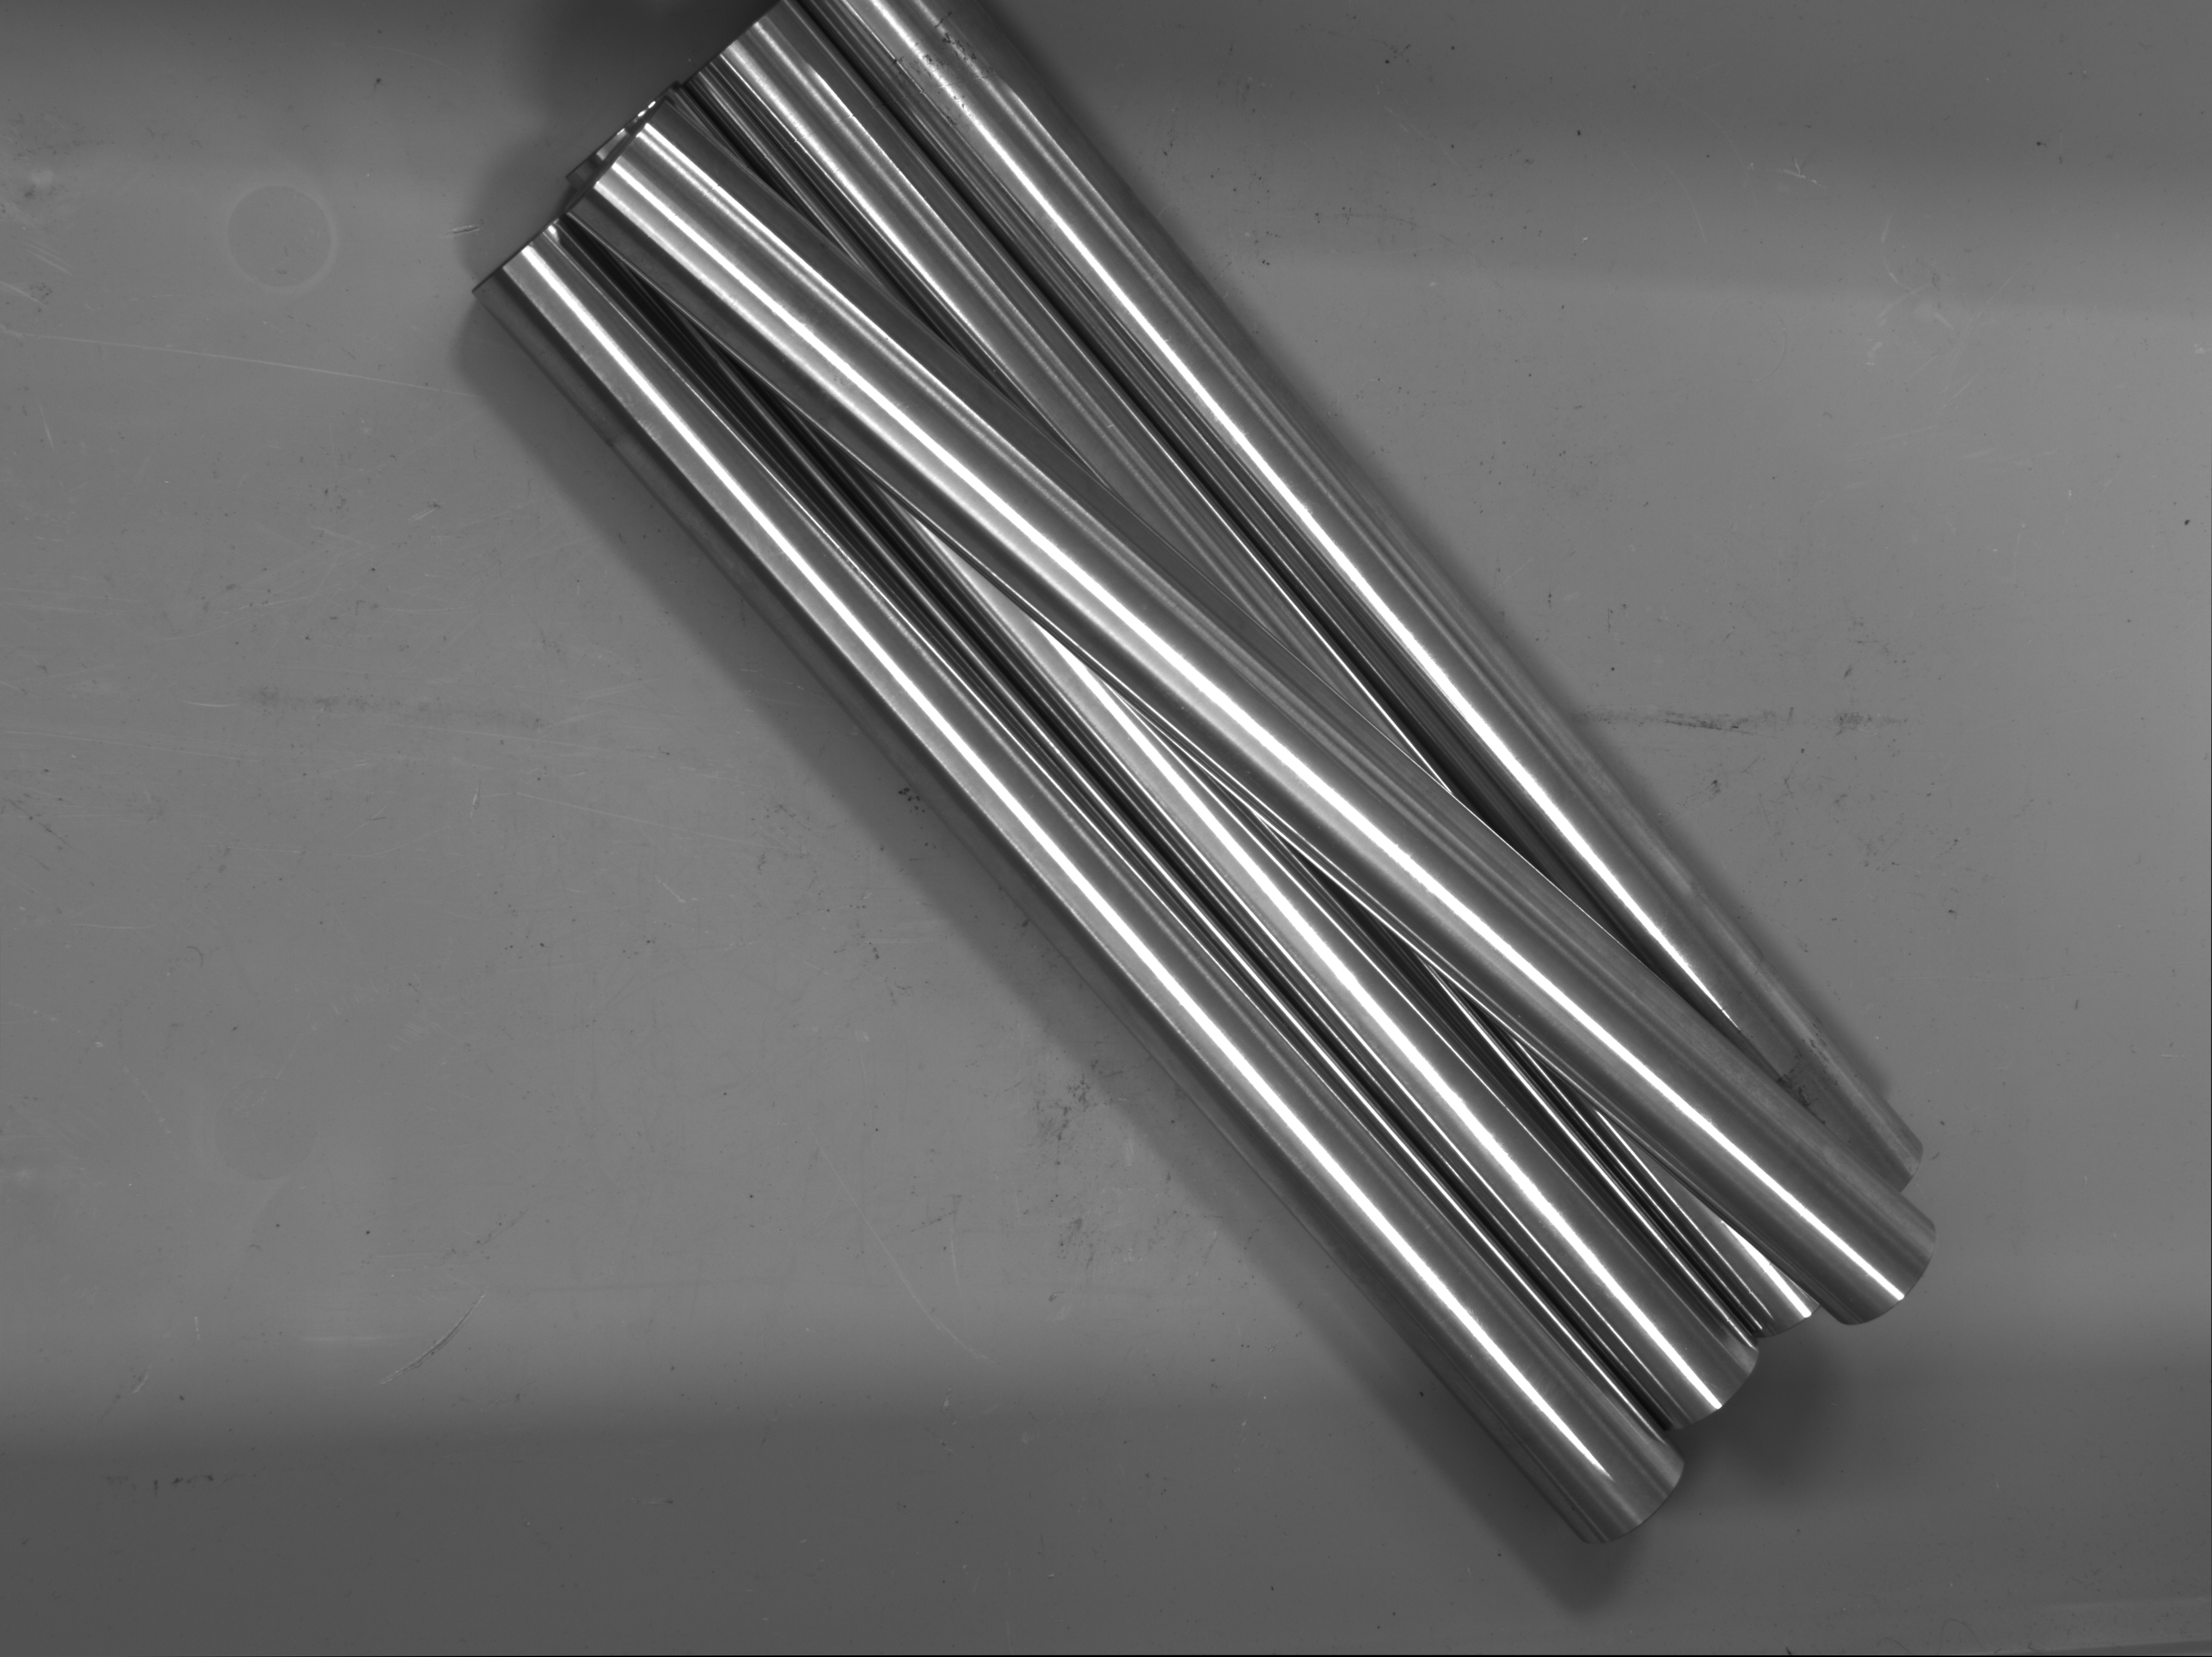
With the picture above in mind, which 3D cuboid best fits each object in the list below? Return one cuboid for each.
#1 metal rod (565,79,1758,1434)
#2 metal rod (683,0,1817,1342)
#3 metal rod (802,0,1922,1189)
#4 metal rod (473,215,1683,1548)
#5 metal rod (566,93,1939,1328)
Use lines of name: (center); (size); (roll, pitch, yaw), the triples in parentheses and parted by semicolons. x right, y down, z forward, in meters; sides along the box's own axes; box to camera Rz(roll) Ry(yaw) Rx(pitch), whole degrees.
metal rod: (0.015, -0.007, 0.647); (0.025, 0.025, 0.300); (-45, 104, -14)
metal rod: (0.033, -0.023, 0.654); (0.025, 0.025, 0.300); (-45, 104, -14)
metal rod: (0.048, -0.043, 0.659); (0.025, 0.025, 0.300); (-45, 104, -14)
metal rod: (0.000, 0.013, 0.642); (0.025, 0.025, 0.300); (-45, 104, -14)
metal rod: (0.032, -0.014, 0.626); (0.300, 0.025, 0.025); (41, 77, -15)
